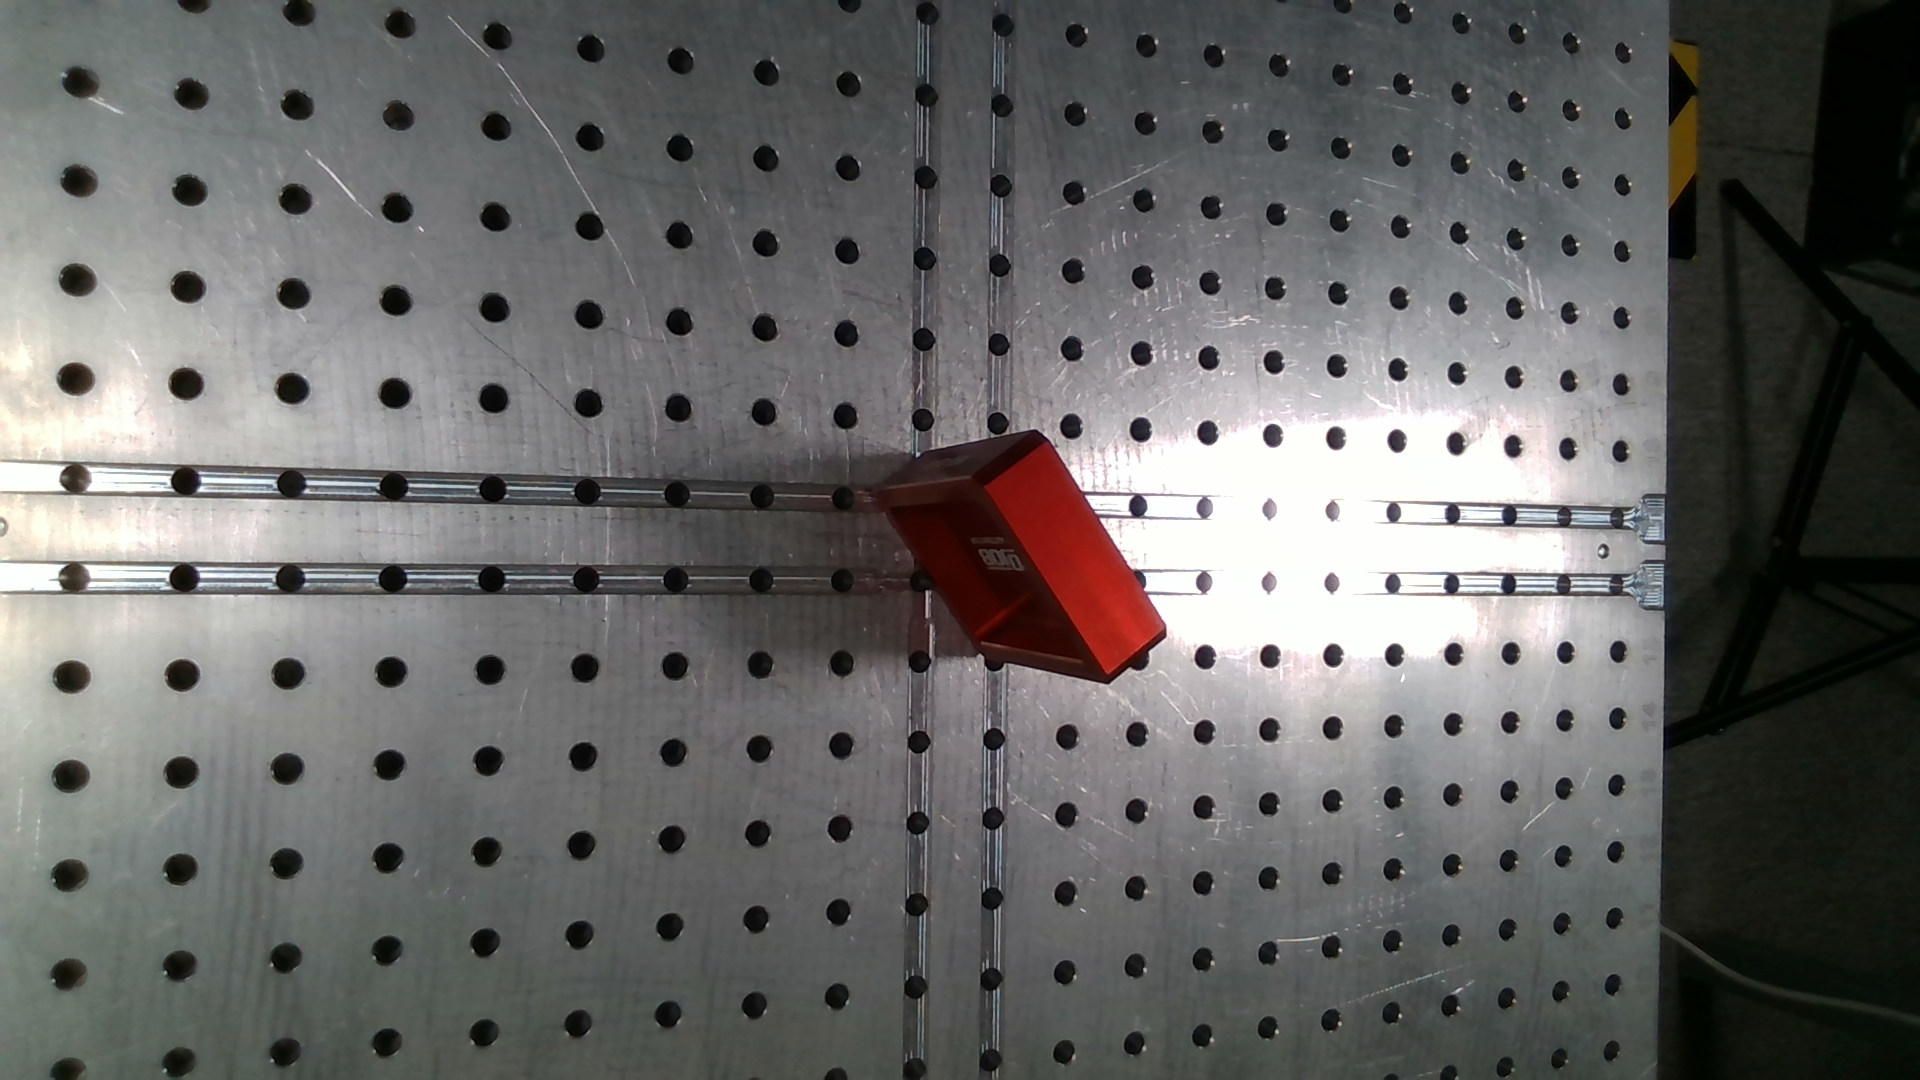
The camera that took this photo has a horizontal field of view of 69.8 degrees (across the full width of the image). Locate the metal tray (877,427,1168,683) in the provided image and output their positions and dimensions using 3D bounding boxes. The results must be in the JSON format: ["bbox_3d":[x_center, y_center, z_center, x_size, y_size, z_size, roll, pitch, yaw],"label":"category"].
[{"bbox_3d":[0.019,0.006,0.539,0.030,0.130,0.090,-37,102,-17],"label":"metal tray"}]
